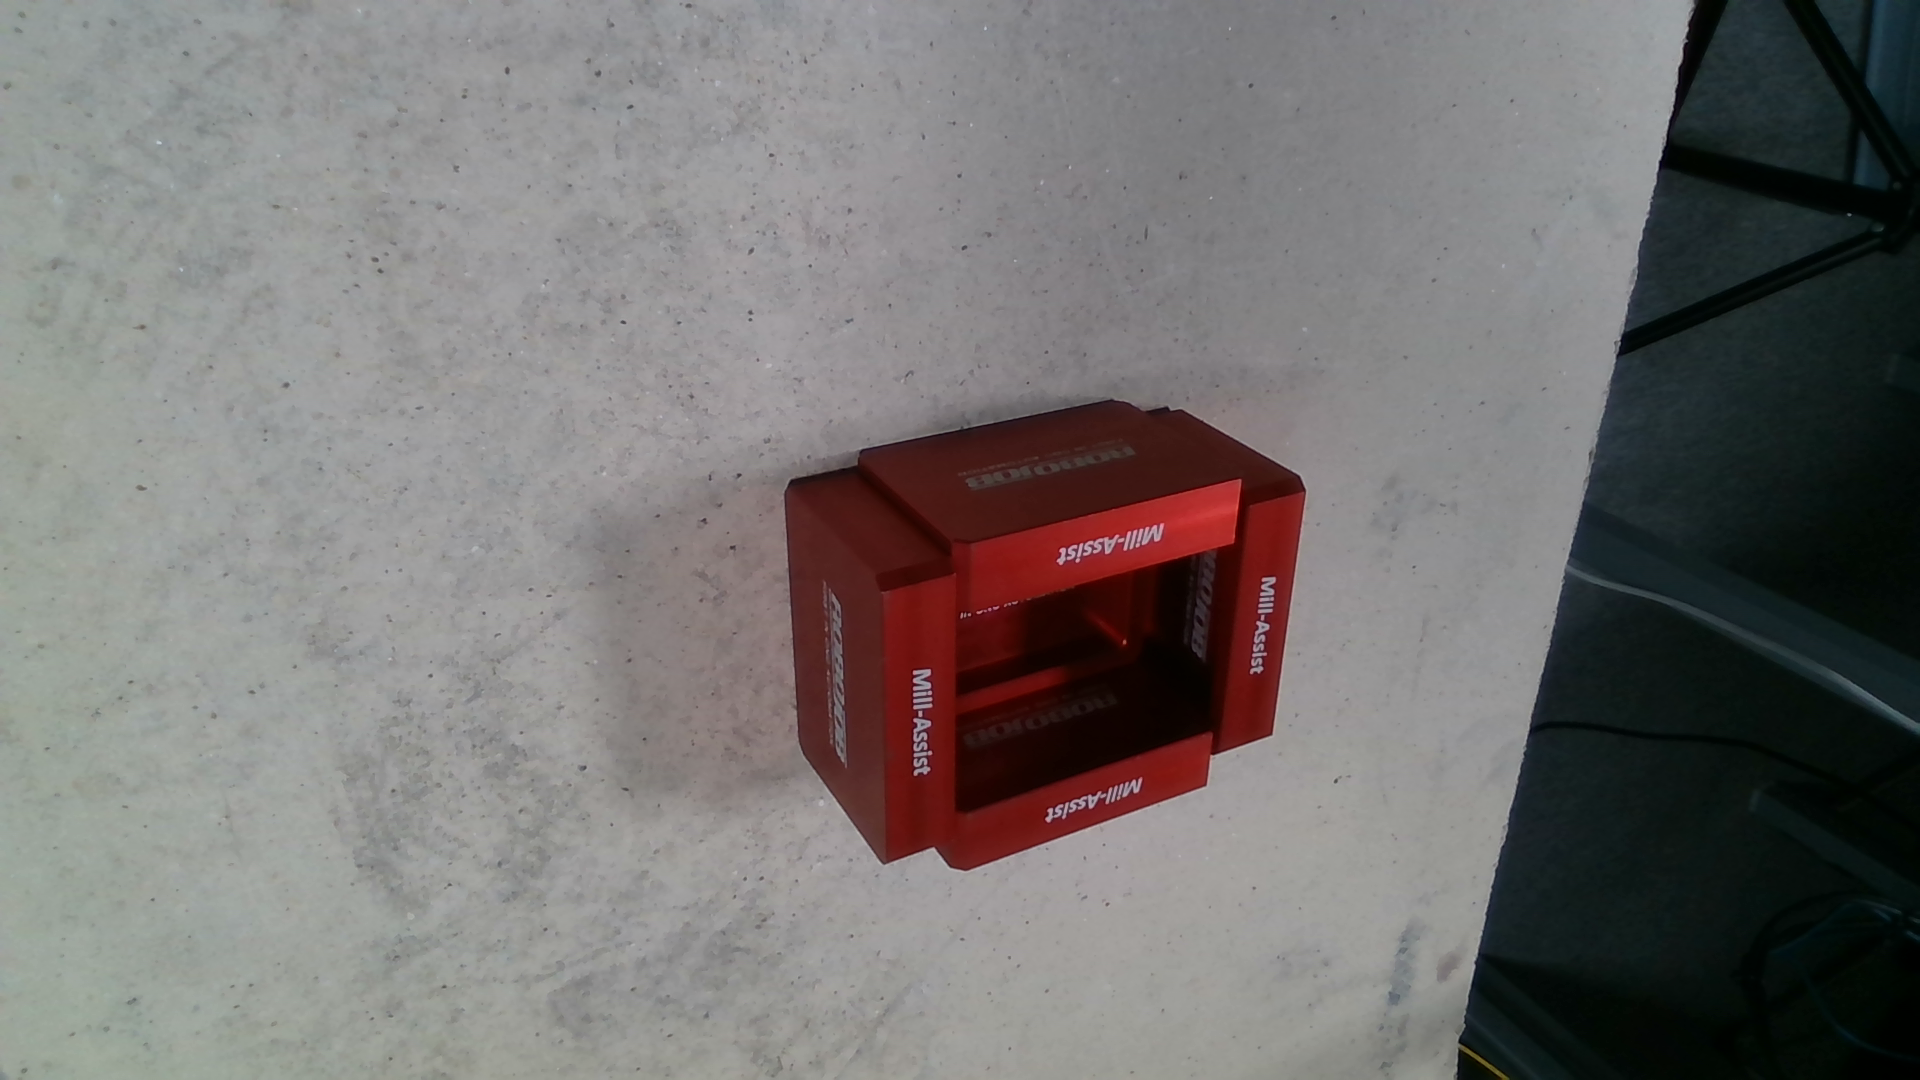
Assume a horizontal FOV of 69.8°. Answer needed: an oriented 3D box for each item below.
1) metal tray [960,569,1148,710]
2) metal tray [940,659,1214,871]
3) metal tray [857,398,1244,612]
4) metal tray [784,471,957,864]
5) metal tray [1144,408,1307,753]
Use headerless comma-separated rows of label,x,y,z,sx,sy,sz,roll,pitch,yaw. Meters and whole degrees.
metal tray,0.021,0.022,0.602,0.130,0.030,0.090,-14,121,-25
metal tray,0.034,0.089,0.607,0.130,0.090,0.030,-14,121,-25
metal tray,0.035,-0.018,0.550,0.130,0.090,0.030,-14,121,-25
metal tray,-0.036,0.050,0.543,0.030,0.090,0.130,-14,121,-25
metal tray,0.105,0.017,0.612,0.030,0.090,0.130,-14,121,-25
